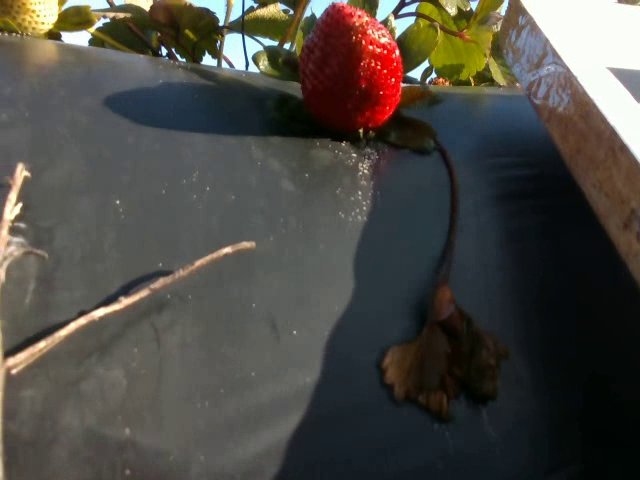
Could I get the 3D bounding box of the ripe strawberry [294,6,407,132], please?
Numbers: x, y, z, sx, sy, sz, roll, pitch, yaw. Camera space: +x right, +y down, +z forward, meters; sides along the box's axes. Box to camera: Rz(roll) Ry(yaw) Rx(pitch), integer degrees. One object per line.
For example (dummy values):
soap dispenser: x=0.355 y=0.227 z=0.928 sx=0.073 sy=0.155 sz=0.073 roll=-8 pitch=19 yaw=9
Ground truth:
ripe strawberry: x=0.004 y=-0.019 z=0.066 sx=0.016 sy=0.015 sz=0.022 roll=11 pitch=-9 yaw=-1
